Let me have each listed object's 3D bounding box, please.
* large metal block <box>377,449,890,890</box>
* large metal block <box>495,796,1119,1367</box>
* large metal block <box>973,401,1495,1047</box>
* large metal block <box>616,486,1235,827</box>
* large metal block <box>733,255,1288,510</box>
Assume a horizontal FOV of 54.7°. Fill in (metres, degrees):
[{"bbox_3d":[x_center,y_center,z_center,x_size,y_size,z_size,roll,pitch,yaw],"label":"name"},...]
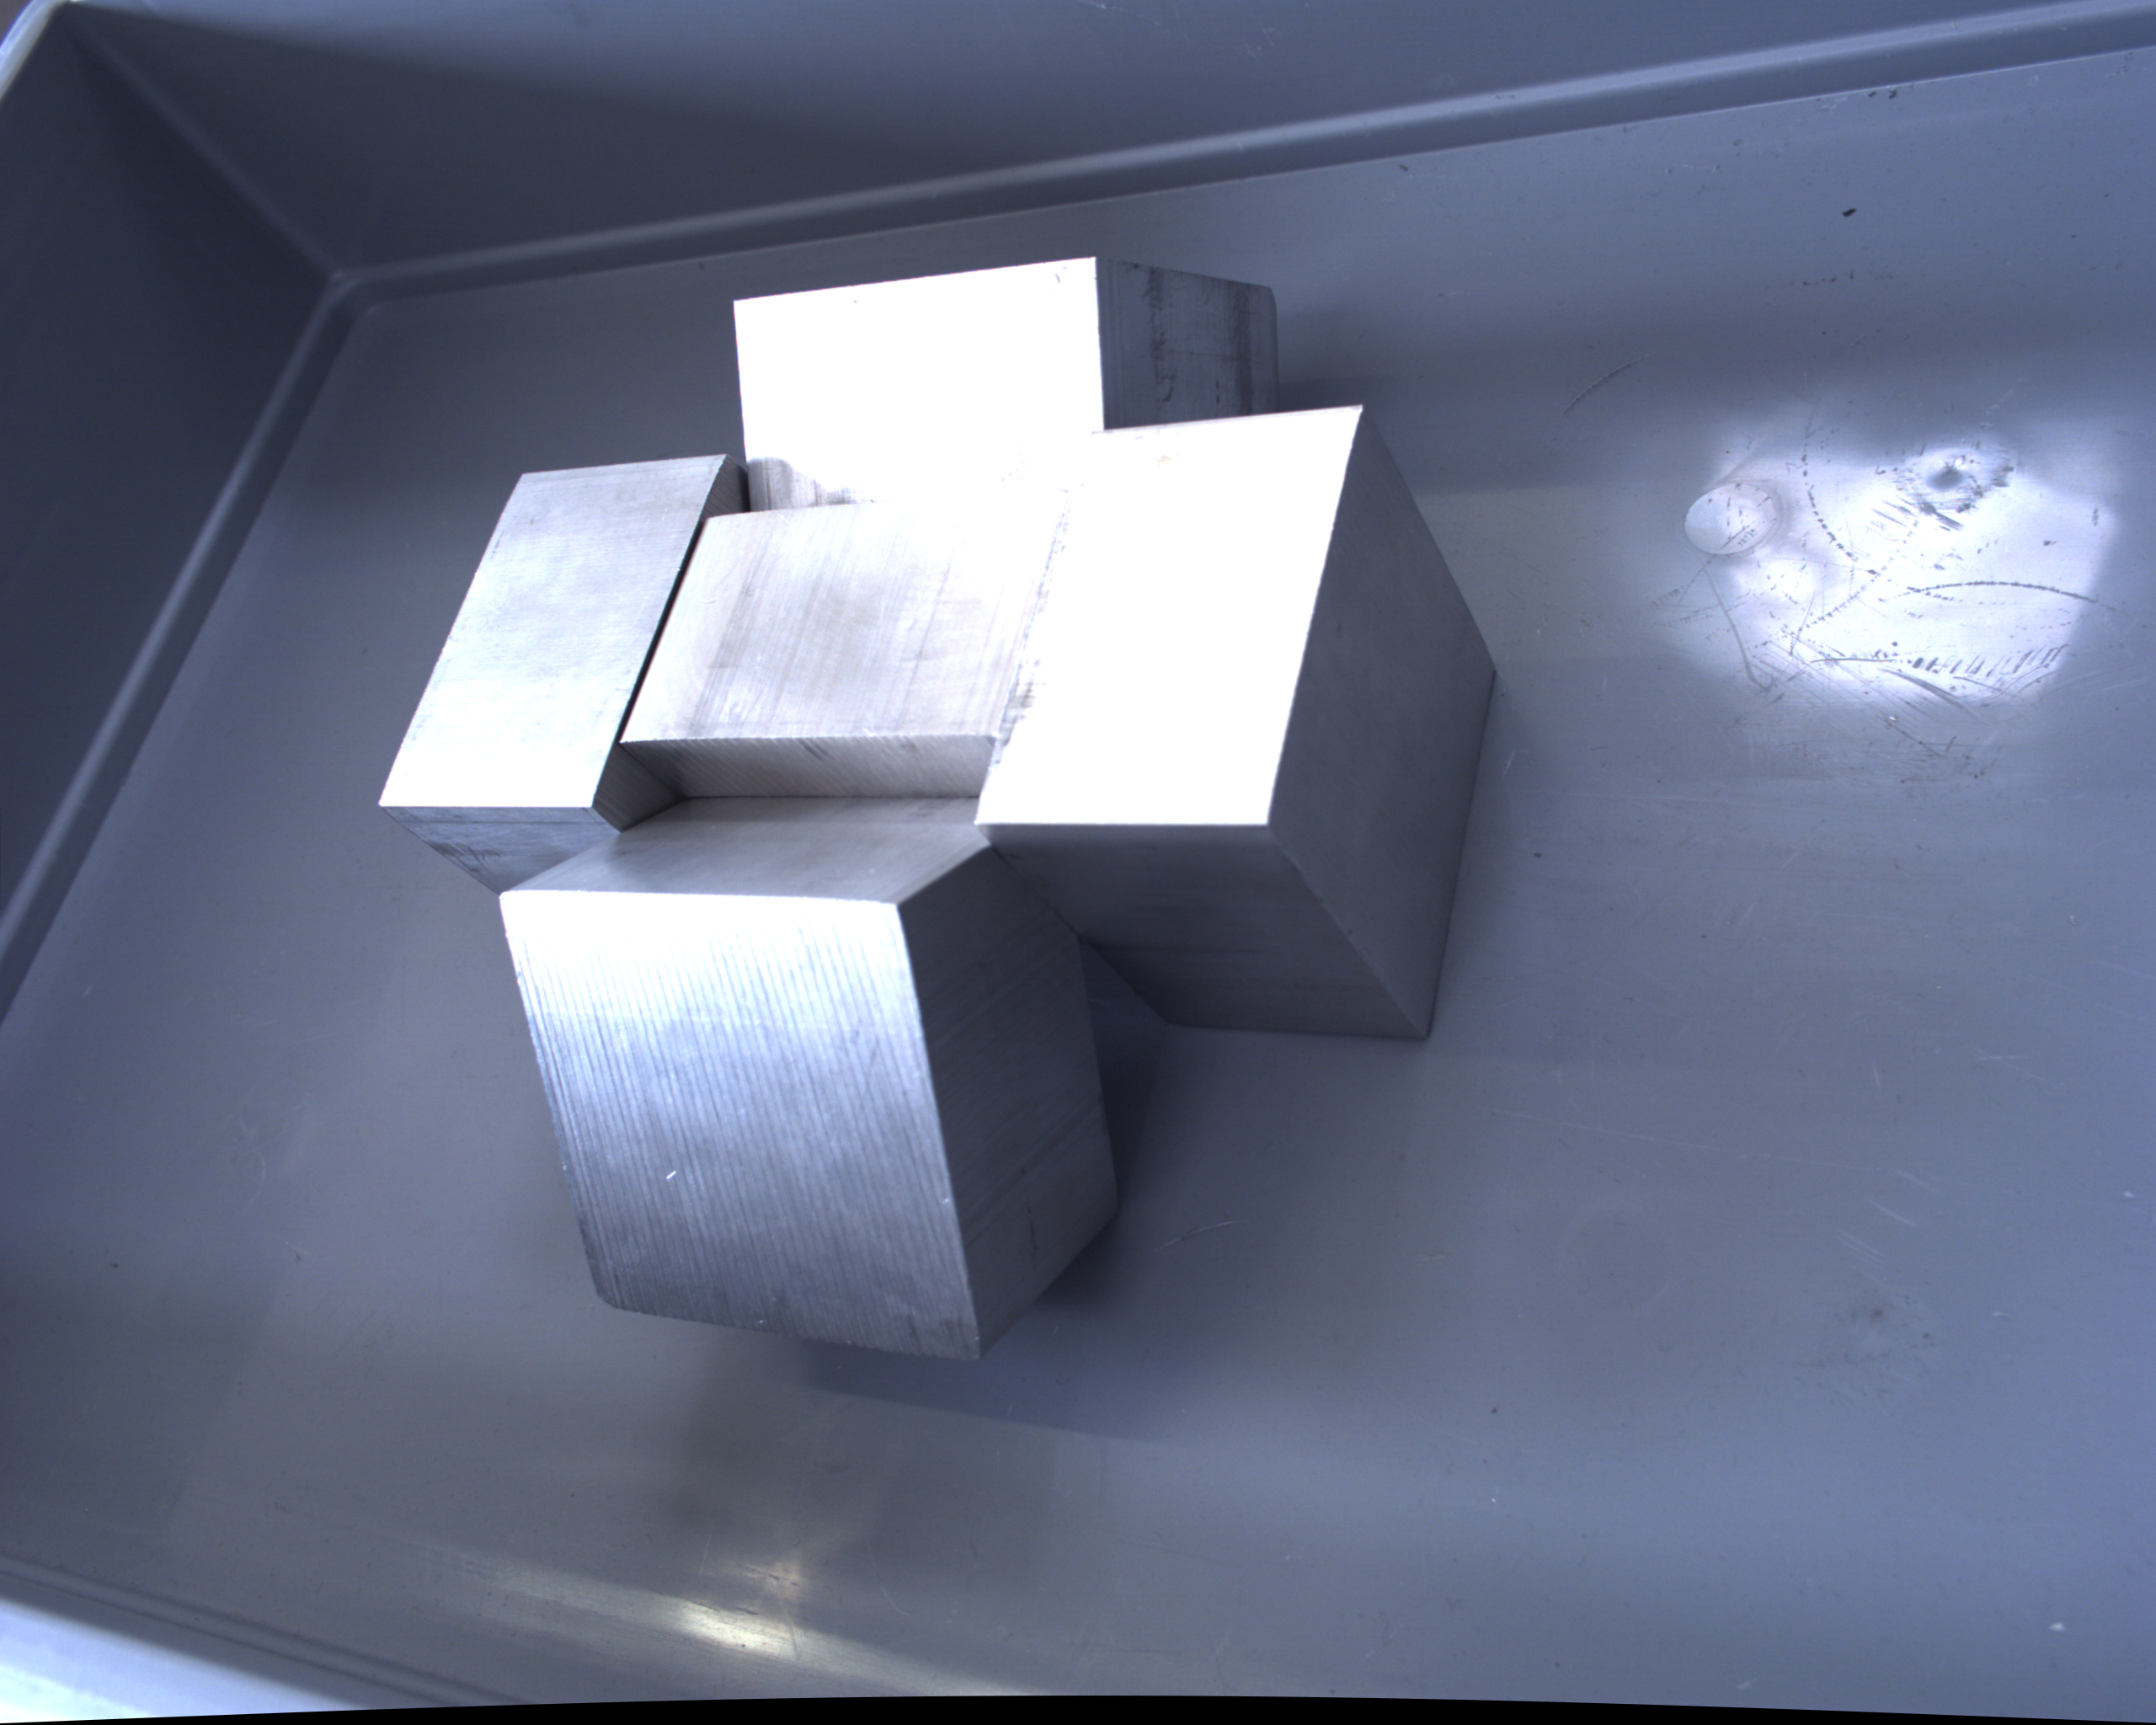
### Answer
[{"bbox_3d":[-0.084,-0.027,0.430,0.050,0.080,0.080,1,62,29],"label":"large metal block"},{"bbox_3d":[-0.045,0.034,0.363,0.080,0.079,0.050,1,21,27],"label":"large metal block"},{"bbox_3d":[0.032,-0.022,0.366,0.050,0.080,0.080,1,62,29],"label":"large metal block"},{"bbox_3d":[-0.025,-0.025,0.397,0.080,0.080,0.050,1,62,28],"label":"large metal block"},{"bbox_3d":[-0.010,-0.089,0.422,0.080,0.080,0.050,2,100,29],"label":"large metal block"}]
